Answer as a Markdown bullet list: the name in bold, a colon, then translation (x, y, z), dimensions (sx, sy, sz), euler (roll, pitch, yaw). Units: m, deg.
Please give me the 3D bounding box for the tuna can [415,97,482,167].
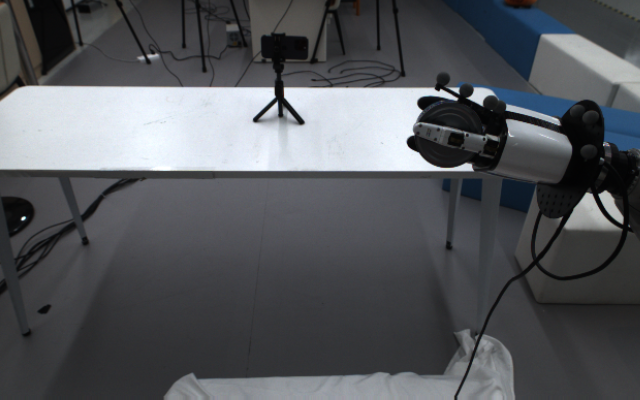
- **tuna can**: translation (0.168, -0.091, 0.636), dimensions (0.085, 0.085, 0.034), euler (7, 17, 6)
